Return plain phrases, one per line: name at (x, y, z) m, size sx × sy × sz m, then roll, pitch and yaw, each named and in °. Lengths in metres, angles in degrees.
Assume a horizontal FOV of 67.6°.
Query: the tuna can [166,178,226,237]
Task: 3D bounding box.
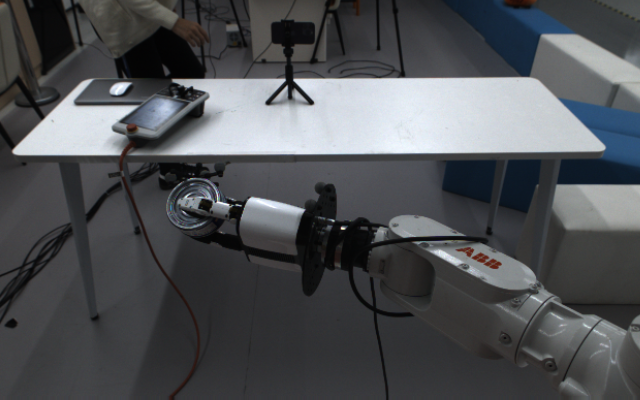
tuna can at (-0.182, 0.010, 0.718) m, size 0.085 × 0.034 × 0.085 m, roll -4°, pitch 68°, yaw 9°
